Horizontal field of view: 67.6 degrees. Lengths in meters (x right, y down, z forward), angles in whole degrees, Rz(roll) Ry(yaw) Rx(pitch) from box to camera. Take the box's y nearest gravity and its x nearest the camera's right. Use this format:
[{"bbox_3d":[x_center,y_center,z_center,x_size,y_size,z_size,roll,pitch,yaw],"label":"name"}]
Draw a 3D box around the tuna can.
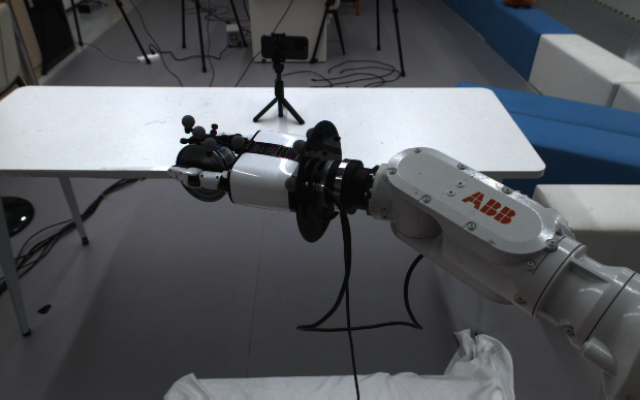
[{"bbox_3d":[-0.154,-0.042,0.675,0.085,0.085,0.034,16,28,19],"label":"tuna can"}]
